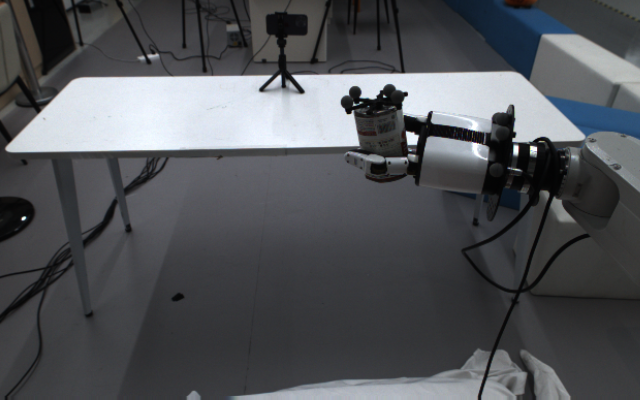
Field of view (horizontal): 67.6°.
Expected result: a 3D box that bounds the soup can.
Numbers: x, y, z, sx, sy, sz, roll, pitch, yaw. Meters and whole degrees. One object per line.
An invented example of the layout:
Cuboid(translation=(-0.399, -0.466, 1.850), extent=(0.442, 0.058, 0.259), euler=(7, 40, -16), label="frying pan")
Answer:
Cuboid(translation=(0.090, -0.085, 0.678), extent=(0.067, 0.101, 0.067), euler=(-11, 27, 6), label="soup can")
